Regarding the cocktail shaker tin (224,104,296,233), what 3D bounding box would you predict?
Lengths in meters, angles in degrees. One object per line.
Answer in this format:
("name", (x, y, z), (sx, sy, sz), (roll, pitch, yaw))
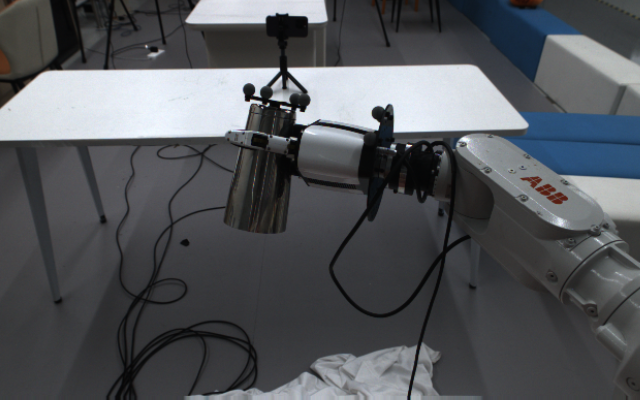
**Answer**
("cocktail shaker tin", (-0.077, -0.049, 0.692), (0.093, 0.170, 0.093), (10, 9, -2))
